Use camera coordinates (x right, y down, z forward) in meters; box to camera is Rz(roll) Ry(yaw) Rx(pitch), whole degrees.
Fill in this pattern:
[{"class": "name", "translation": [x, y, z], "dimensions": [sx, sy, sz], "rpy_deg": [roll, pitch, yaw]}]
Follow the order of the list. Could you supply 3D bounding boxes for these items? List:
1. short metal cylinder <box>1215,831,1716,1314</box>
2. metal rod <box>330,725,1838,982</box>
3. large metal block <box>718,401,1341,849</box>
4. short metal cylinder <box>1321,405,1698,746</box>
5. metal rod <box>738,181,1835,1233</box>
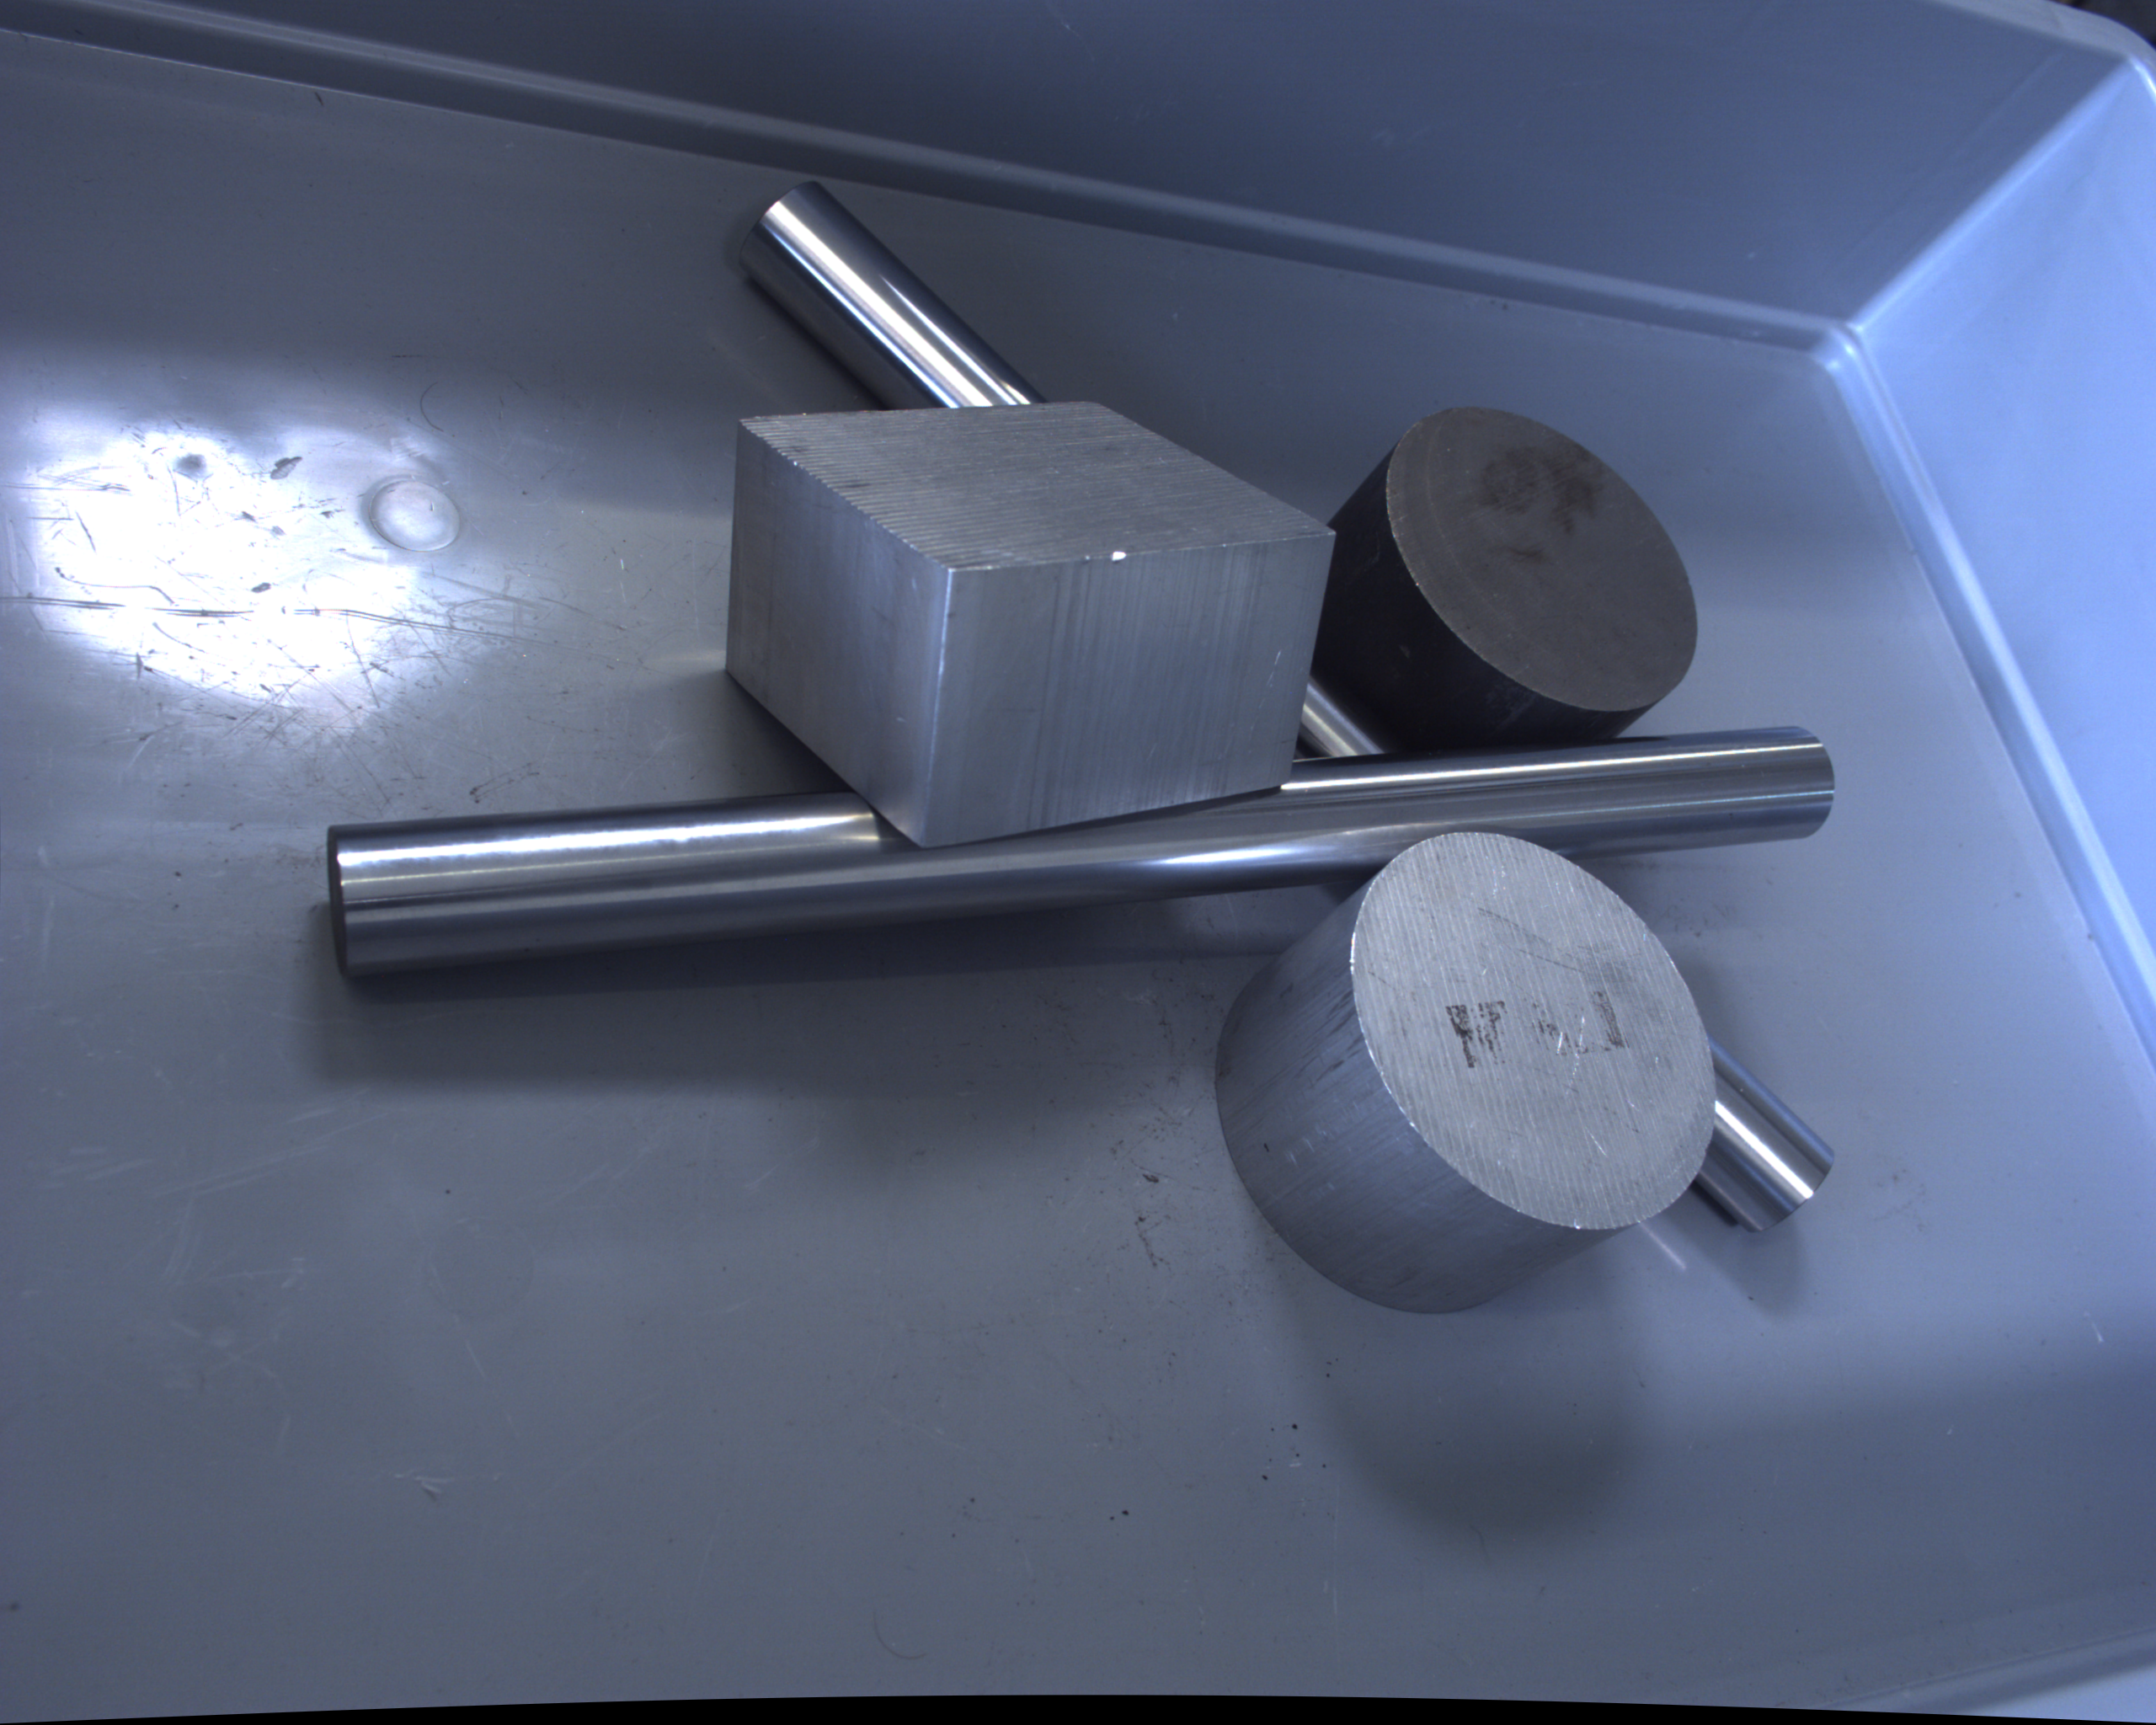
[{"class": "short metal cylinder", "translation": [0.074, 0.041, 0.402], "dimensions": [0.081, 0.050, 0.080], "rpy_deg": [14, 56, -21]}, {"class": "metal rod", "translation": [0.019, -0.005, 0.396], "dimensions": [0.303, 0.025, 0.025], "rpy_deg": [-5, 64, -24]}, {"class": "large metal block", "translation": [-0.012, -0.048, 0.387], "dimensions": [0.081, 0.050, 0.080], "rpy_deg": [-11, 33, -32]}, {"class": "short metal cylinder", "translation": [0.091, -0.056, 0.471], "dimensions": [0.081, 0.050, 0.080], "rpy_deg": [14, 56, -21]}, {"class": "metal rod", "translation": [0.043, -0.034, 0.448], "dimensions": [0.300, 0.025, 0.025], "rpy_deg": [44, 51, 2]}]
